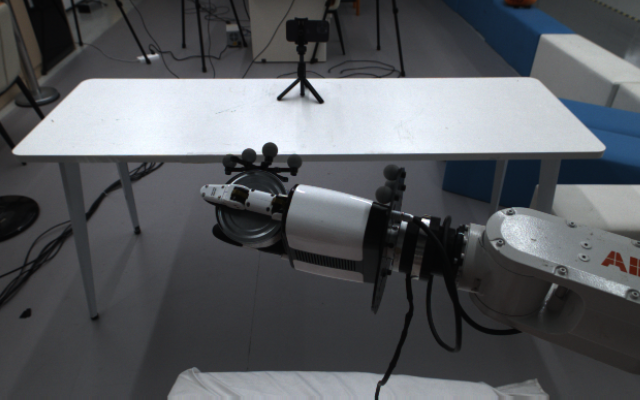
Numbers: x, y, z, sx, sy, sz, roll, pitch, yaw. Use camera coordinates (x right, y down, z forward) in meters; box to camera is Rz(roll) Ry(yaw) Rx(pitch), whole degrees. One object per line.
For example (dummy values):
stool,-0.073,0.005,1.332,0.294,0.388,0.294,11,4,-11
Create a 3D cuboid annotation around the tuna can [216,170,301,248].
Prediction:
tuna can,-0.071,0.011,0.553,0.085,0.034,0.085,-3,73,10
